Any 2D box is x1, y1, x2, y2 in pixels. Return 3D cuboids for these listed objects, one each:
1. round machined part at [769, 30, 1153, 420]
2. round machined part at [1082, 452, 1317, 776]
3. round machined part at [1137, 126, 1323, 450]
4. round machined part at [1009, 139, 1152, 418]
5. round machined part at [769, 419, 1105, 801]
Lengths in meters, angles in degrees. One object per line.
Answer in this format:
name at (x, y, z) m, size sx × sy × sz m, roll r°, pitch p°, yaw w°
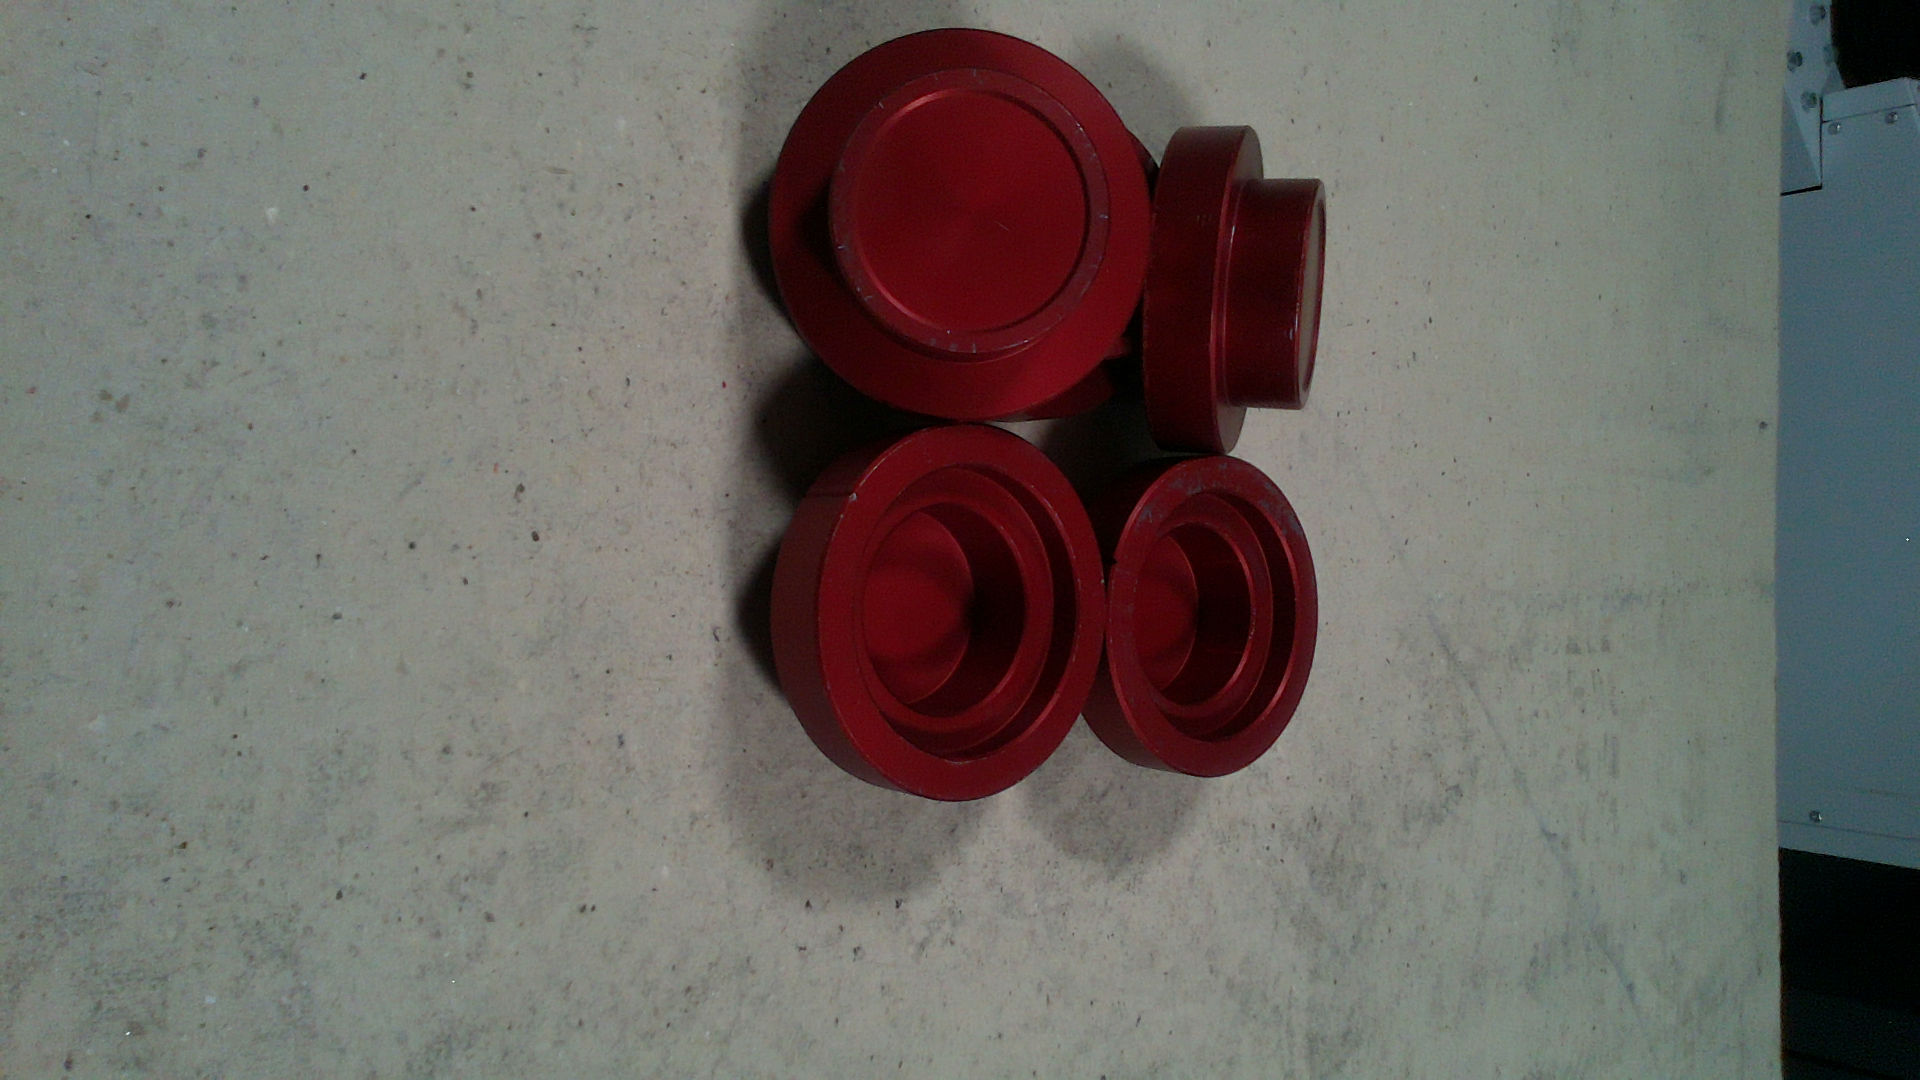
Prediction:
round machined part at (0.001, -0.080, 0.348) m, size 0.098 × 0.042 × 0.098 m, roll 0°, pitch 93°, yaw -6°
round machined part at (0.066, 0.022, 0.433) m, size 0.098 × 0.042 × 0.098 m, roll 0°, pitch 90°, yaw -40°
round machined part at (0.086, -0.076, 0.421) m, size 0.098 × 0.042 × 0.098 m, roll 5°, pitch 90°, yaw -71°
round machined part at (0.026, -0.085, 0.399) m, size 0.098 × 0.042 × 0.098 m, roll 0°, pitch 90°, yaw -40°
round machined part at (-0.010, 0.018, 0.370) m, size 0.098 × 0.042 × 0.098 m, roll 0°, pitch 90°, yaw -40°
